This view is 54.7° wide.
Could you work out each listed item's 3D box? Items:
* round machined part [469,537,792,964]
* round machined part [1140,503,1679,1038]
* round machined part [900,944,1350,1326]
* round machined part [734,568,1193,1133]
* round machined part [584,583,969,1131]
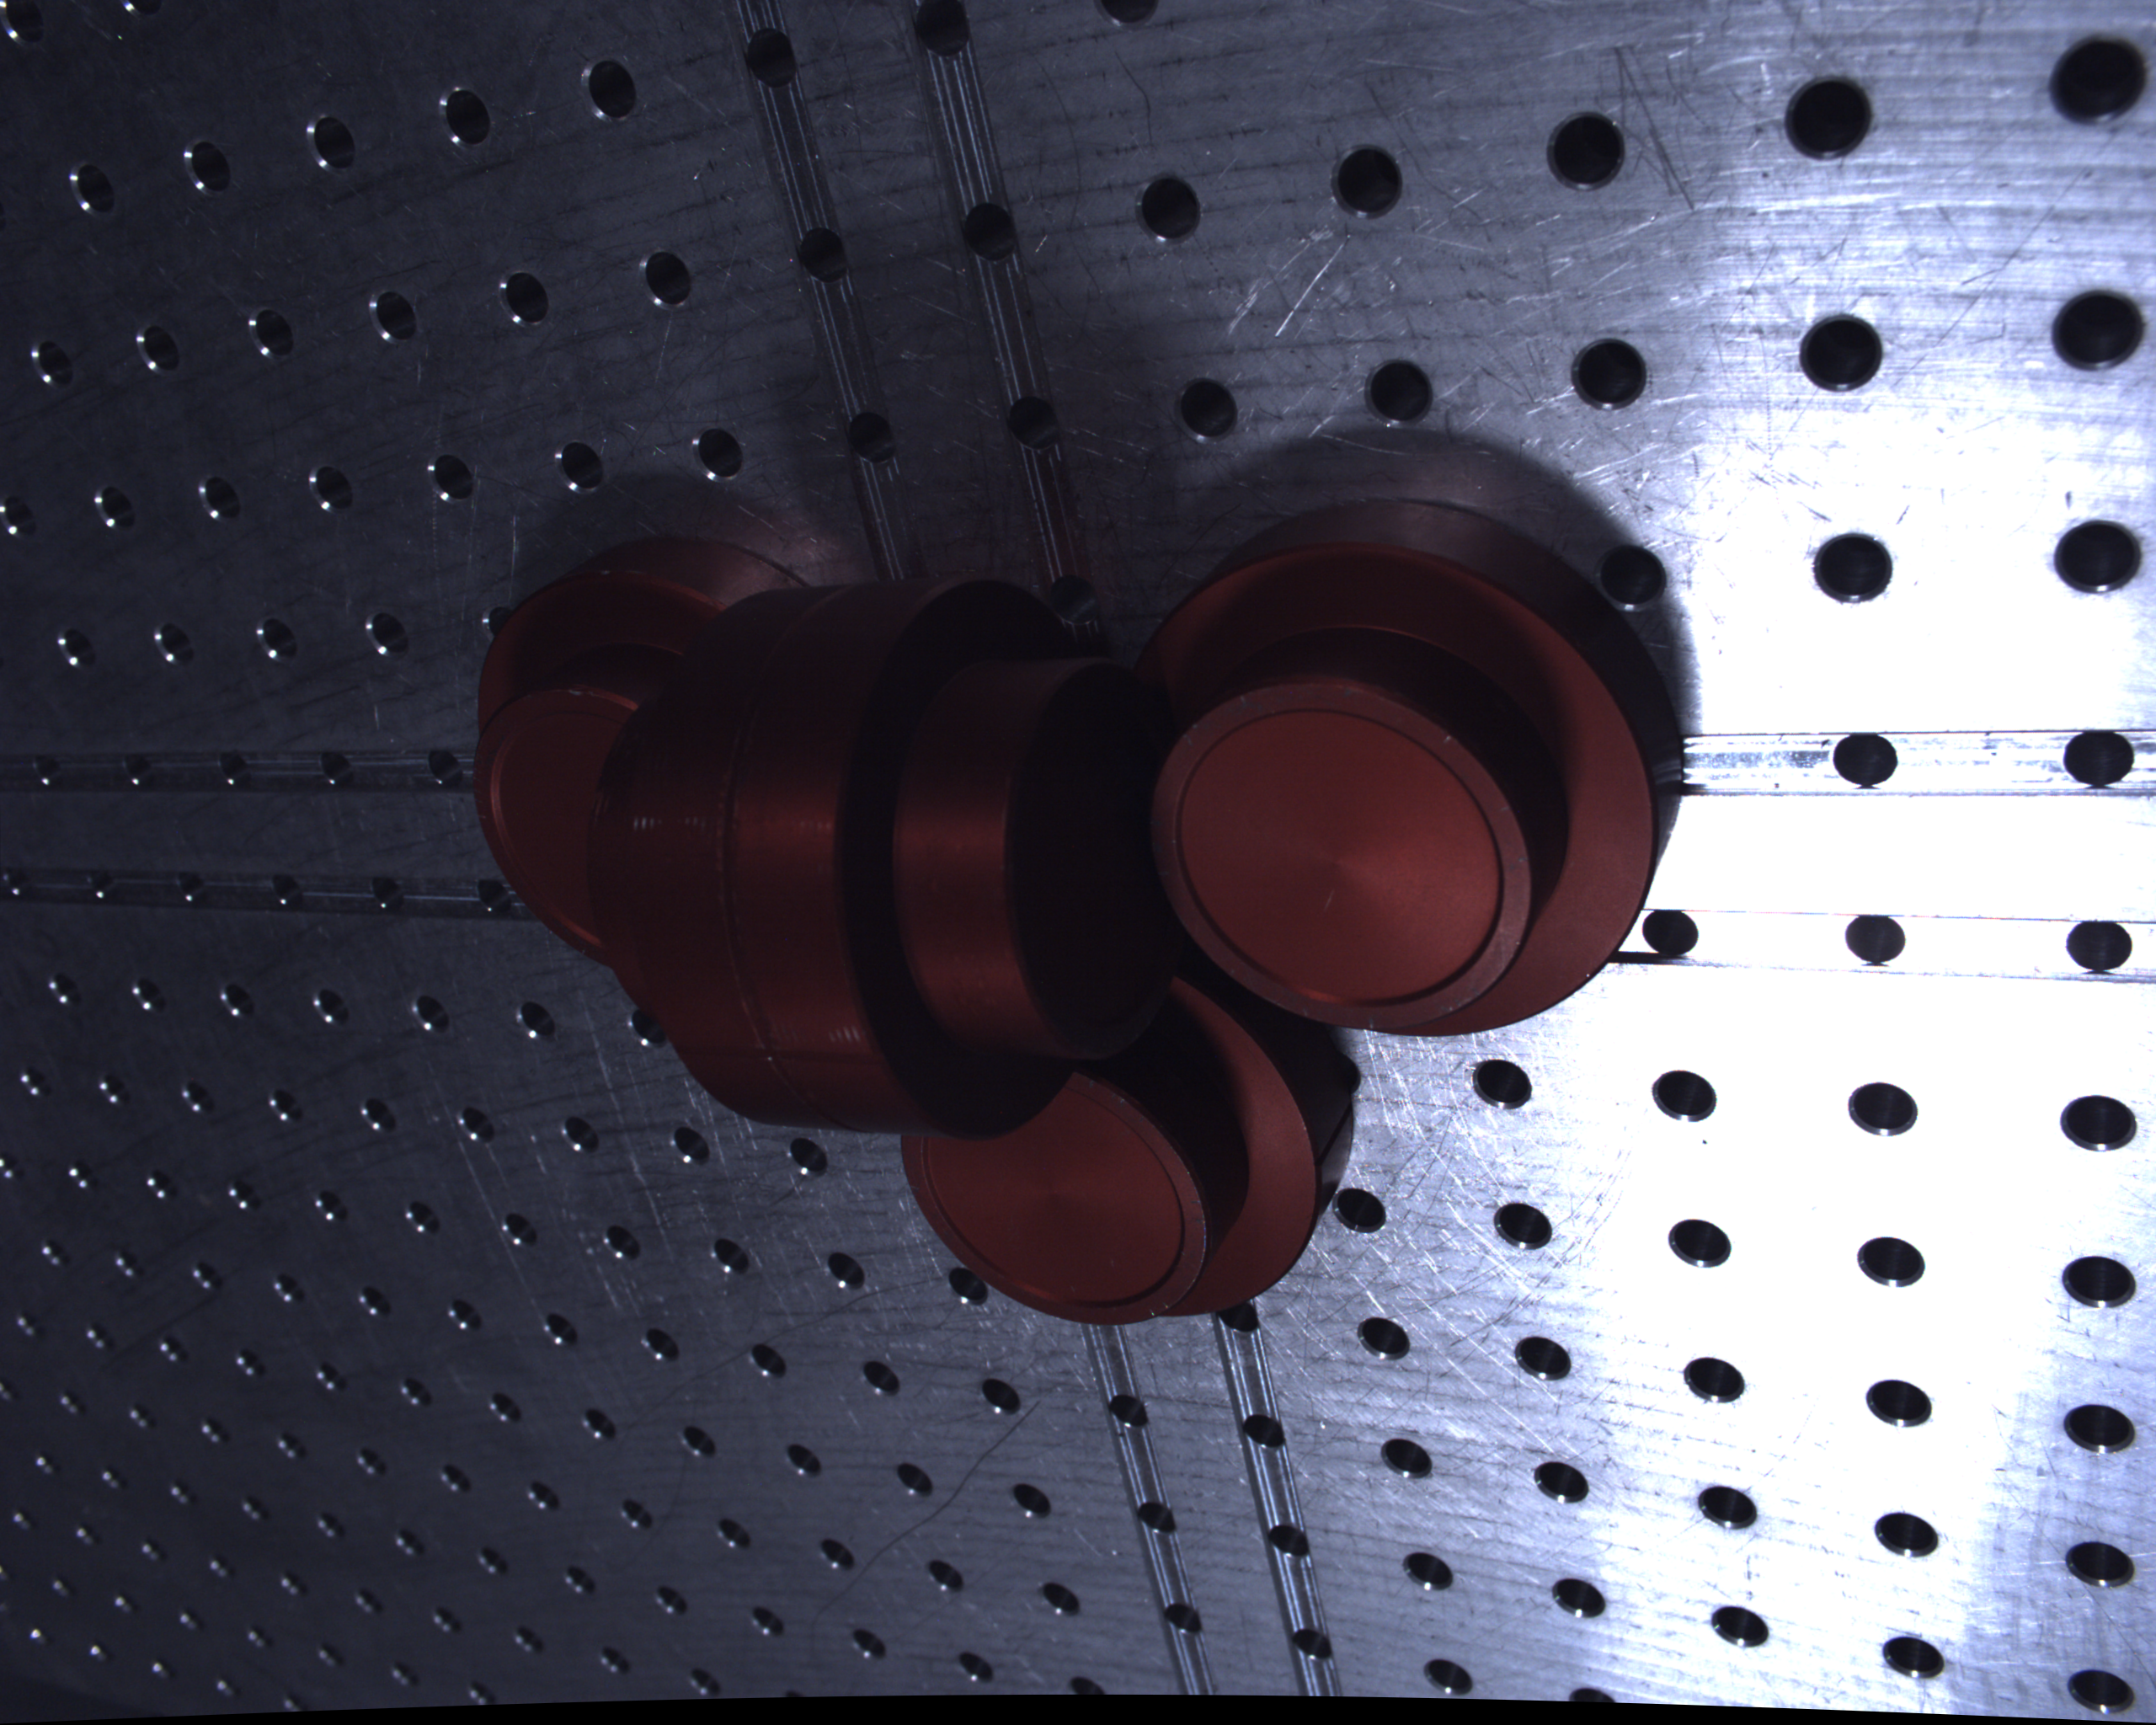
[{"bbox_3d":[-0.086,-0.015,0.434,0.098,0.042,0.097,13,124,20],"label":"round machined part"},{"bbox_3d":[0.051,-0.010,0.365,0.098,0.042,0.097,13,124,20],"label":"round machined part"},{"bbox_3d":[0.003,0.056,0.432,0.098,0.042,0.097,13,124,20],"label":"round machined part"},{"bbox_3d":[-0.013,-0.002,0.361,0.042,0.098,0.097,-1,118,28],"label":"round machined part"},{"bbox_3d":[-0.052,-0.001,0.381,0.042,0.098,0.097,1,119,27],"label":"round machined part"}]
